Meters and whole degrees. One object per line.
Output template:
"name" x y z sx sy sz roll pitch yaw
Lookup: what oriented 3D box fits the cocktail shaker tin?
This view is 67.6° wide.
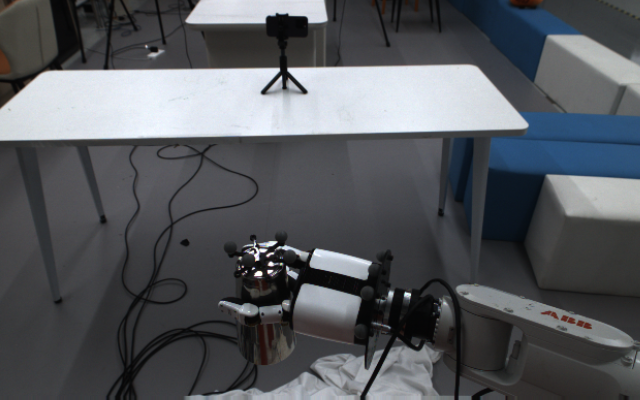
"cocktail shaker tin" -0.077 0.146 0.697 0.093 0.170 0.093 1 39 0
